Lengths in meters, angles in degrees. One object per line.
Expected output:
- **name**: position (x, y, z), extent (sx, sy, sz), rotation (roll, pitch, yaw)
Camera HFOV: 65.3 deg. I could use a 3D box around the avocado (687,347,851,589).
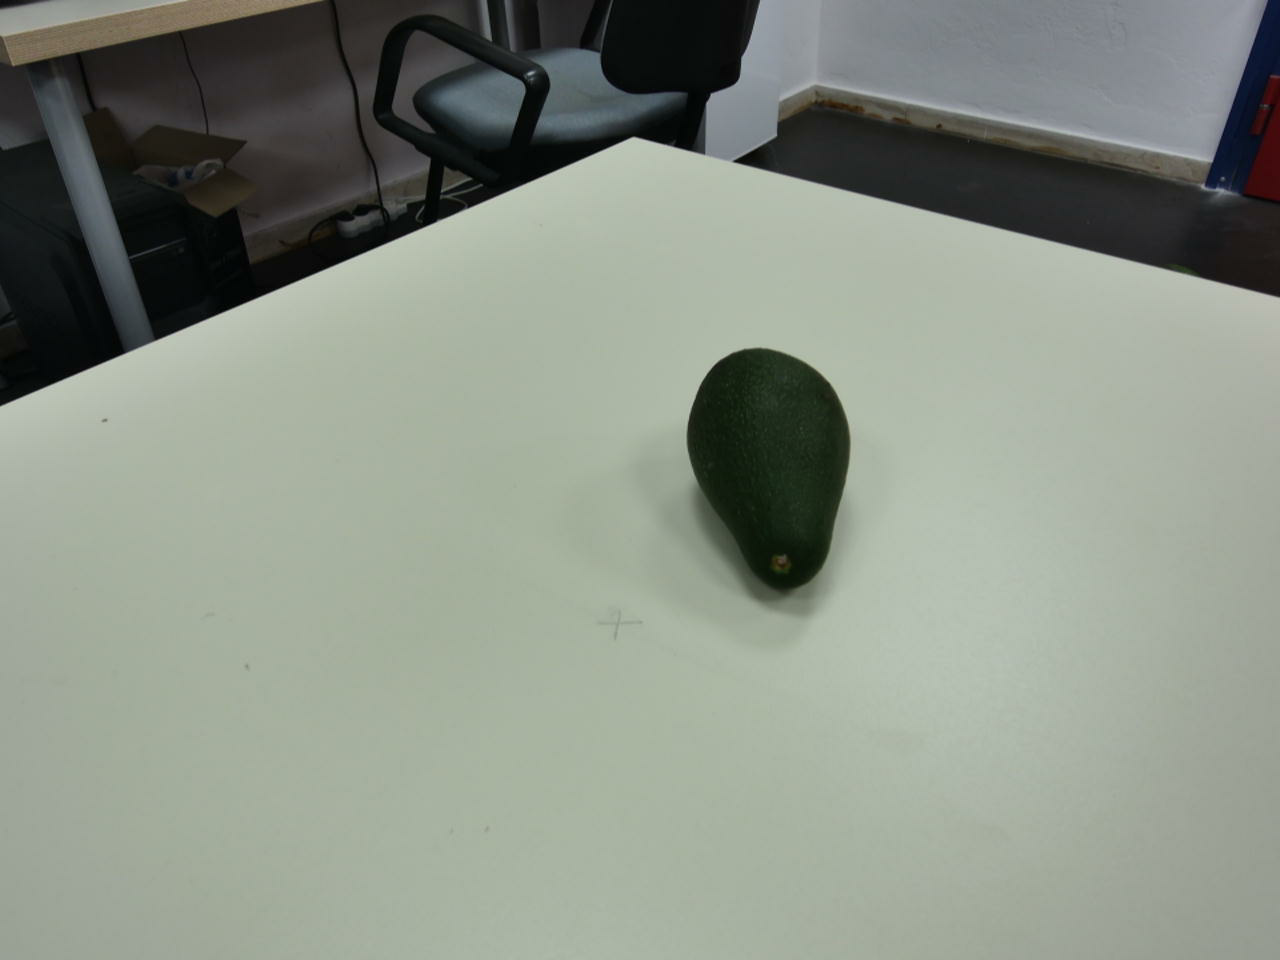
- **avocado**: position (0.052, -0.010, 0.427), extent (0.073, 0.071, 0.109), rotation (9, 38, 14)
